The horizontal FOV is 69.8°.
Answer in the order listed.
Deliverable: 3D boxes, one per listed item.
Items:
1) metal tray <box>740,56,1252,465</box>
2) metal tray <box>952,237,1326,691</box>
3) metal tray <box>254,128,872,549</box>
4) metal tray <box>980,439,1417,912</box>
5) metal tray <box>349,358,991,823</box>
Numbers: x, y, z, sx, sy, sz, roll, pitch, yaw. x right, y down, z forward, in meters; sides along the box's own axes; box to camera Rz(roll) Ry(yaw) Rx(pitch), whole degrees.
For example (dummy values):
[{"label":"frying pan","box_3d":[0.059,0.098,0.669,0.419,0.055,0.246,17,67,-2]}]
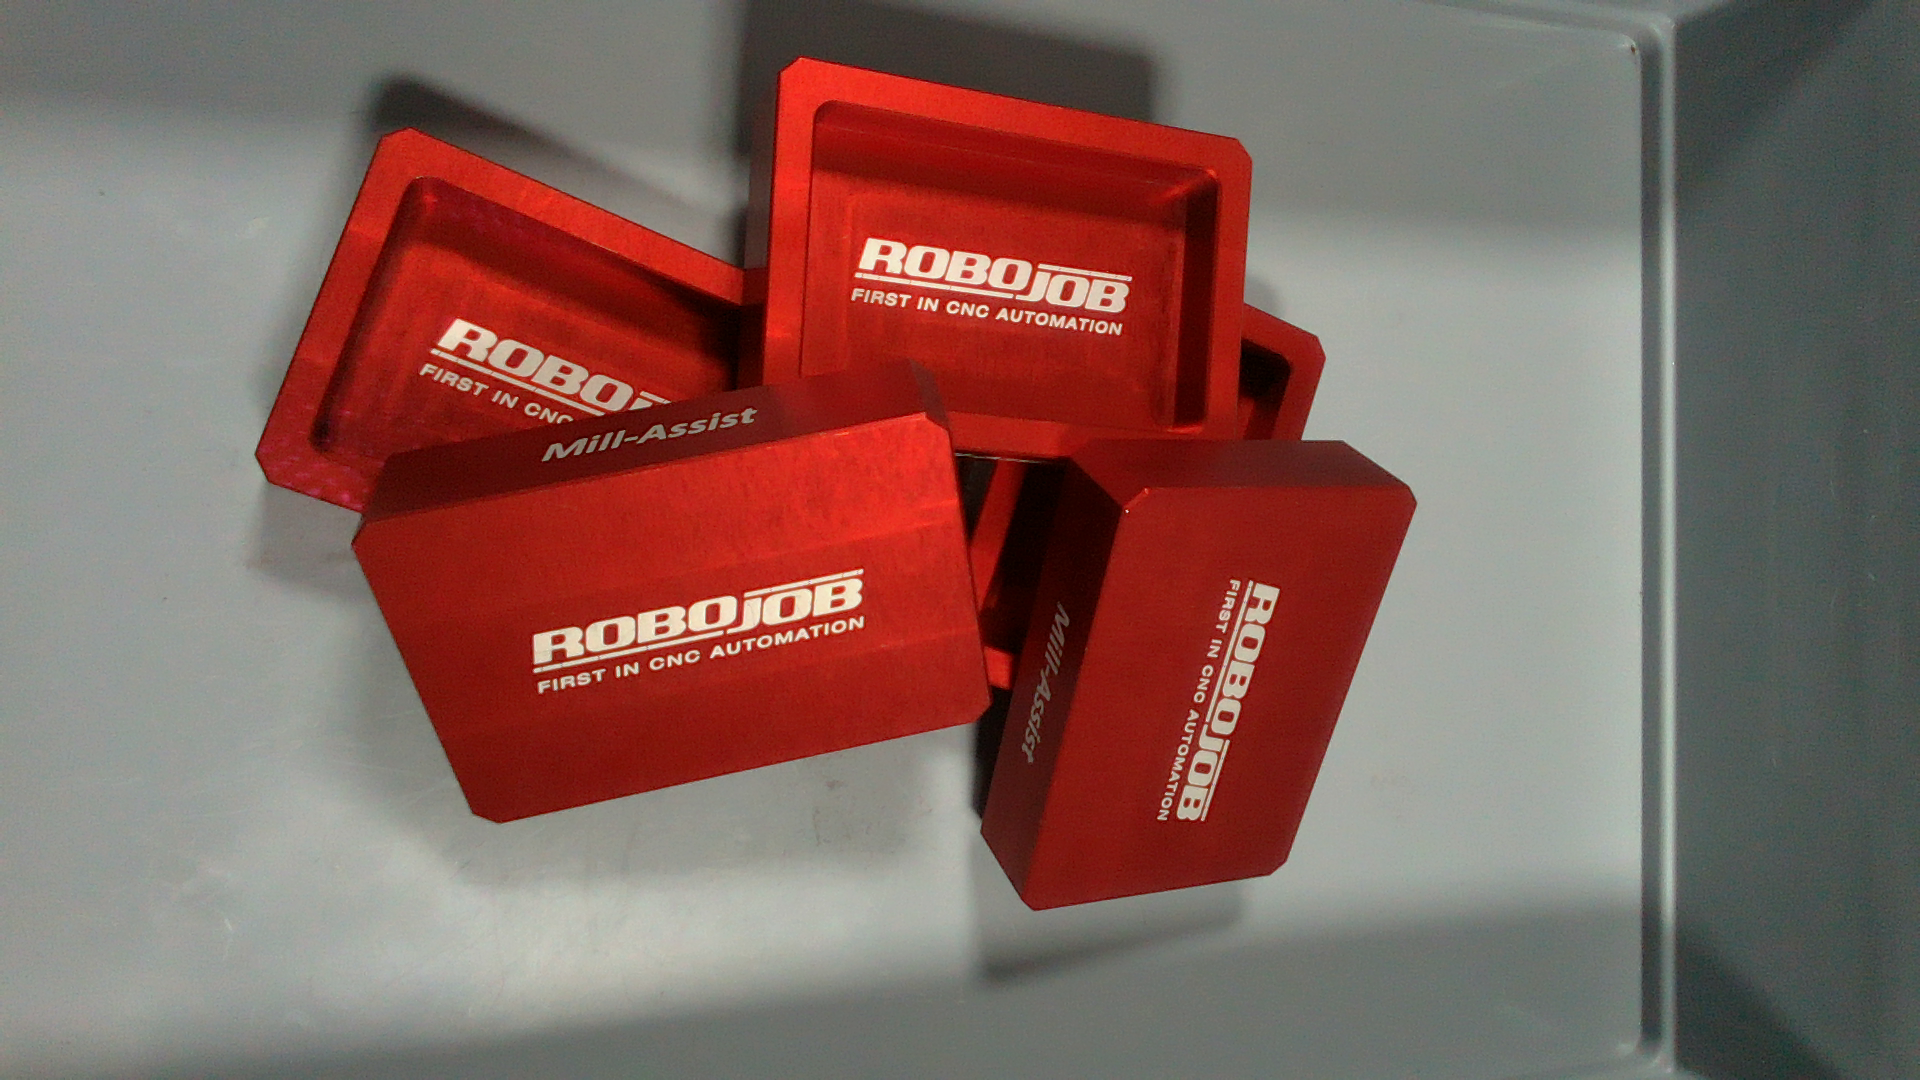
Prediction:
[{"label":"metal tray","box_3d":[0.011,-0.067,0.361,0.130,0.030,0.090,4,89,-20]},{"label":"metal tray","box_3d":[0.047,-0.013,0.406,0.090,0.030,0.130,20,83,-19]},{"label":"metal tray","box_3d":[-0.096,-0.035,0.353,0.130,0.030,0.090,21,83,-19]},{"label":"metal tray","box_3d":[0.063,0.037,0.378,0.090,0.030,0.130,-2,119,-25]},{"label":"metal tray","box_3d":[-0.063,0.014,0.330,0.130,0.030,0.090,-11,124,-4]}]
